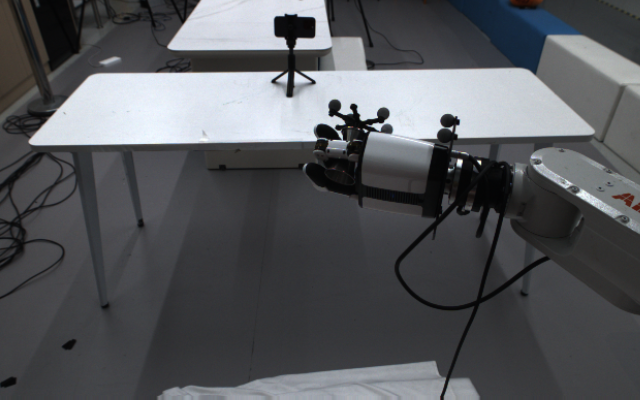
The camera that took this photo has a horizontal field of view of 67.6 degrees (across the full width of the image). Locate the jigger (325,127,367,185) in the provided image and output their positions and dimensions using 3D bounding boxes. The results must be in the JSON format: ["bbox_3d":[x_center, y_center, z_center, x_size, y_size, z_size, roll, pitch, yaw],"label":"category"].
[{"bbox_3d":[0.040,-0.060,0.653,0.043,0.043,0.071,13,70,16],"label":"jigger"}]
